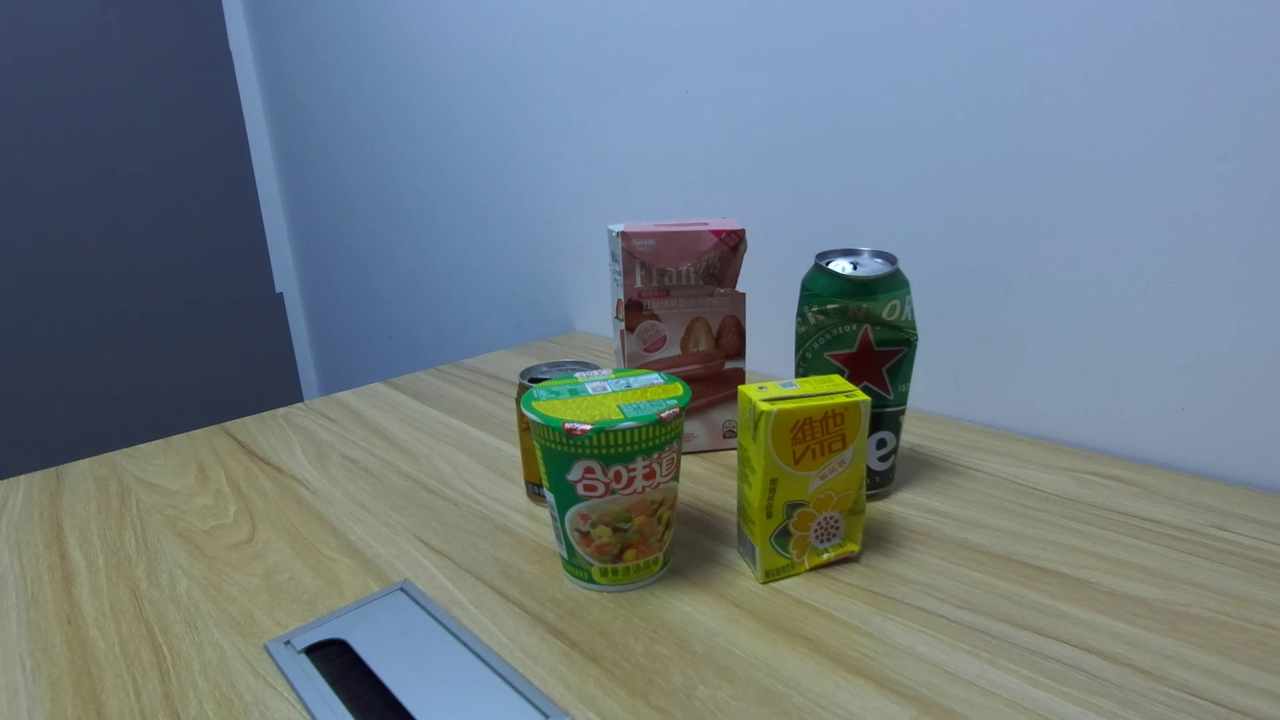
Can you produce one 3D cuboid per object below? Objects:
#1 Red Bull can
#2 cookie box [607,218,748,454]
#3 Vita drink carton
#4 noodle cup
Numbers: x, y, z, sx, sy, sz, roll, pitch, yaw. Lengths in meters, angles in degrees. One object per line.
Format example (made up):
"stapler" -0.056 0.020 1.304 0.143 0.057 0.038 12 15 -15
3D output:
"Red Bull can" -0.056 0.052 0.523 0.068 0.093 0.068 -2 20 1
"cookie box" 0.032 -0.017 0.568 0.105 0.186 0.059 -3 19 -3
"Vita drink carton" 0.097 0.067 0.411 0.076 0.109 0.043 -6 18 -10
"noodle cup" -0.018 0.071 0.417 0.097 0.110 0.097 -2 18 1
